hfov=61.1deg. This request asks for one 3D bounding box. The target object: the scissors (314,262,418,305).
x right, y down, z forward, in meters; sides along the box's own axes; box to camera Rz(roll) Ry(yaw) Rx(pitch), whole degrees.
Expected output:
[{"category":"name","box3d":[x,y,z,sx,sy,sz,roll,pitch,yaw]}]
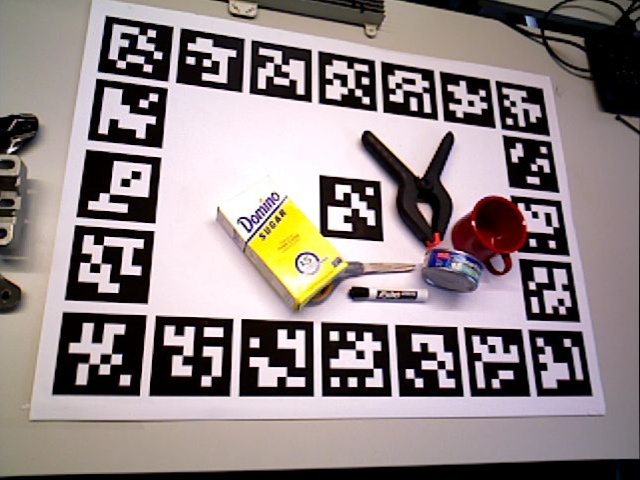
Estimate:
[{"category":"scissors","box3d":[0.052,0.043,0.785,0.200,0.016,0.087,-5,71,-18]}]

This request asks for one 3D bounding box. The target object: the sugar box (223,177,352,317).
[{"category":"sugar box","box3d":[-0.046,0.007,0.752,0.091,0.046,0.176,-33,78,-22]}]

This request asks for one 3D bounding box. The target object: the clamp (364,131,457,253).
[{"category":"clamp","box3d":[0.162,-0.076,0.856,0.163,0.037,0.202,-6,76,-17]}]

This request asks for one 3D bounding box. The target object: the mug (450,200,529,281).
[{"category":"mug","box3d":[0.257,0.009,0.823,0.092,0.083,0.117,-23,77,-21]}]

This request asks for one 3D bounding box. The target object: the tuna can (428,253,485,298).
[{"category":"tuna can","box3d":[0.202,0.053,0.789,0.085,0.087,0.033,22,67,-8]}]

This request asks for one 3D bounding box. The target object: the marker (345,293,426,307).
[{"category":"marker","box3d":[0.095,0.087,0.786,0.120,0.020,0.019,2,73,-14]}]
